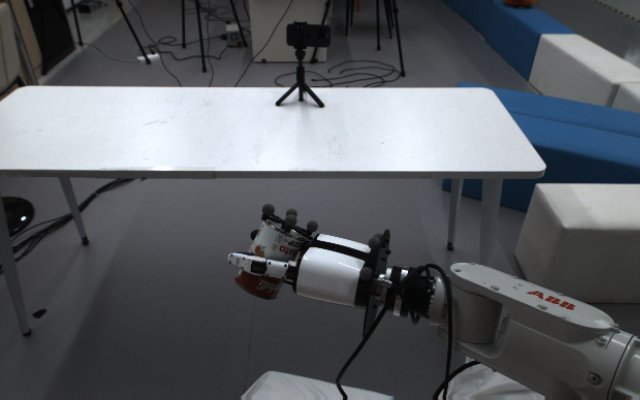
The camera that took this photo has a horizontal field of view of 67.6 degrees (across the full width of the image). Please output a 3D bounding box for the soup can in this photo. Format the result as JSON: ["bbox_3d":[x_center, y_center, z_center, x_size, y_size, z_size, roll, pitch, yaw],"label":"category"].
[{"bbox_3d":[-0.071,0.085,0.704,0.067,0.101,0.067,26,6,-3],"label":"soup can"}]
